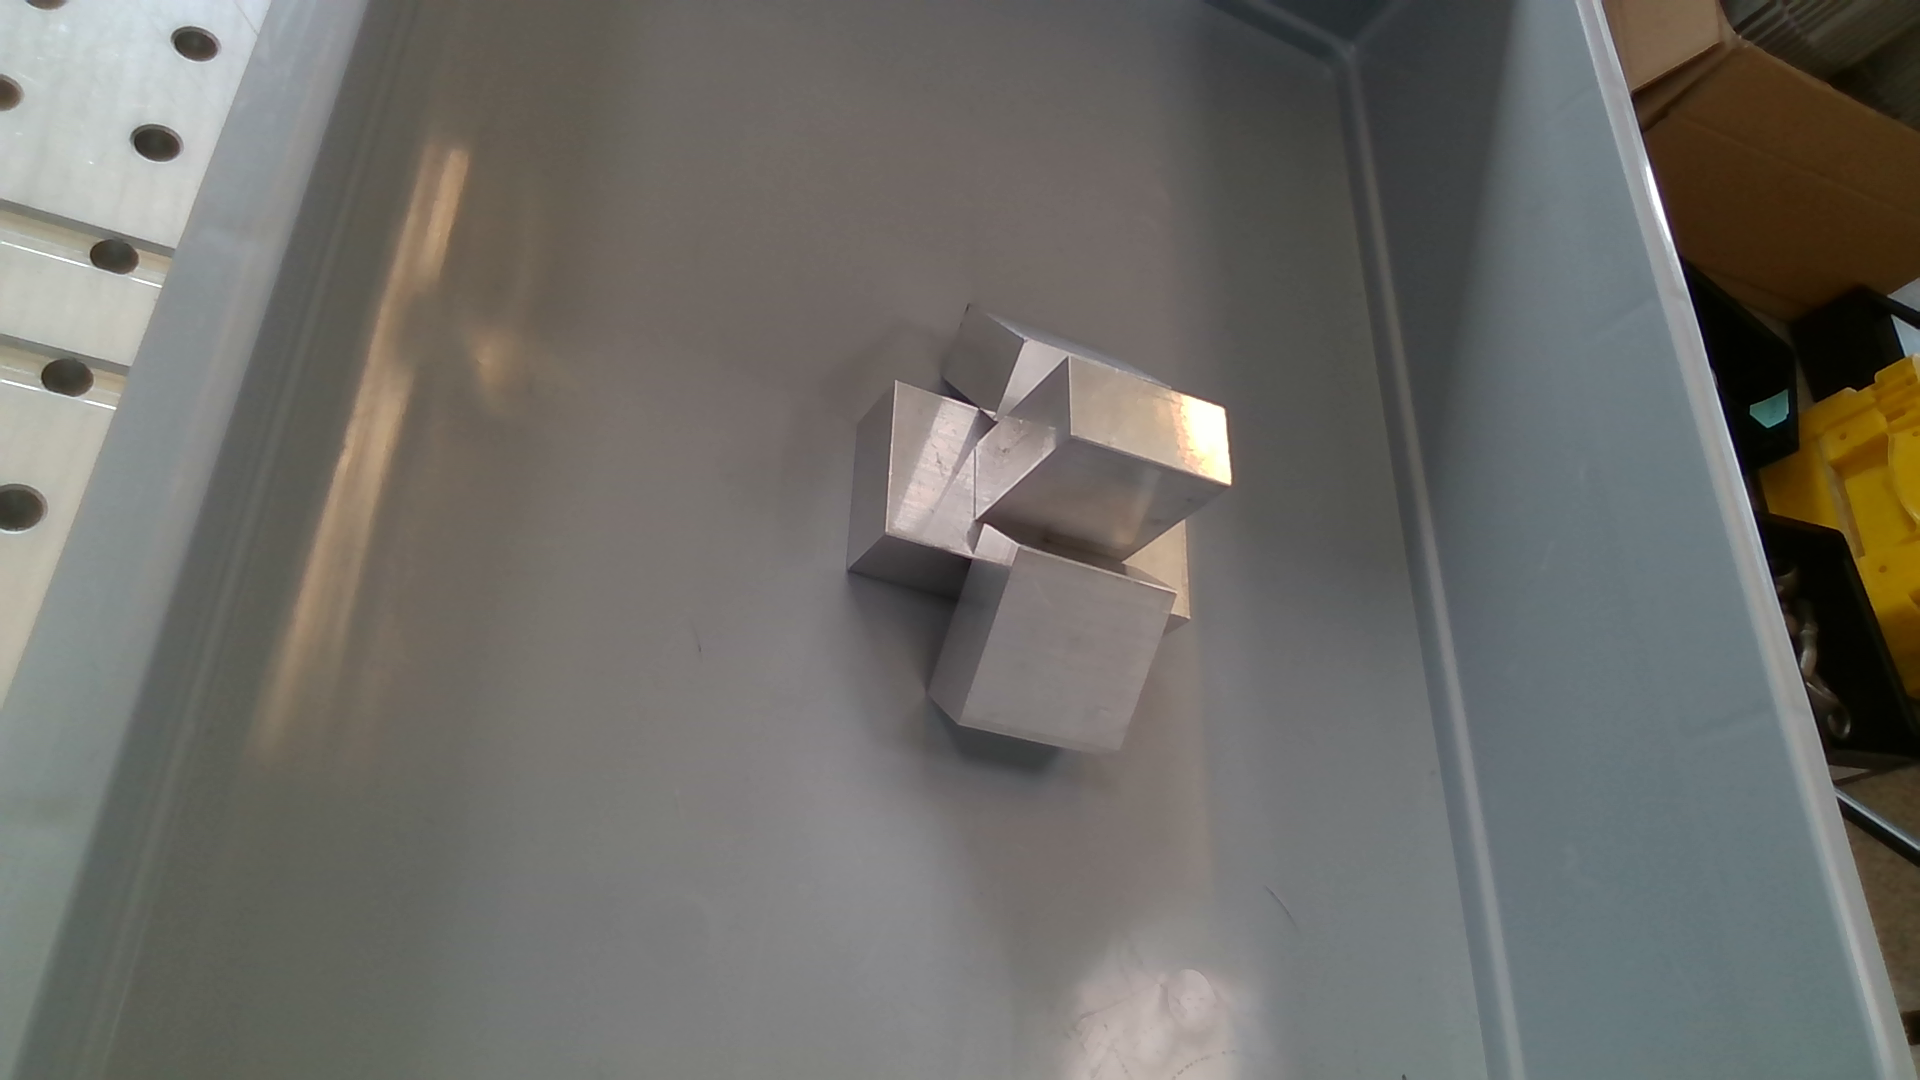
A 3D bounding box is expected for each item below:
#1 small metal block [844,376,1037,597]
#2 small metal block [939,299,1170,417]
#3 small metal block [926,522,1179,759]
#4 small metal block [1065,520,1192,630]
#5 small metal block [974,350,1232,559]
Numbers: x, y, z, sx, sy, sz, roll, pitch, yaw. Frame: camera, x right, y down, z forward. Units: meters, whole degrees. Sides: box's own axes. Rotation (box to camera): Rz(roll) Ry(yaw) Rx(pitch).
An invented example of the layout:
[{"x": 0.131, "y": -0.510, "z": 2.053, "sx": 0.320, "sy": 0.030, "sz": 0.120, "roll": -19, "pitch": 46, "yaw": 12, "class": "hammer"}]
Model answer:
[{"x": -0.004, "y": -0.013, "z": 0.396, "sx": 0.050, "sy": 0.025, "sz": 0.050, "roll": 17, "pitch": 57, "yaw": -24, "class": "small metal block"}, {"x": 0.028, "y": -0.049, "z": 0.417, "sx": 0.050, "sy": 0.025, "sz": 0.050, "roll": 15, "pitch": 15, "yaw": -24, "class": "small metal block"}, {"x": 0.025, "y": 0.028, "z": 0.377, "sx": 0.050, "sy": 0.025, "sz": 0.050, "roll": 16, "pitch": 97, "yaw": -23, "class": "small metal block"}, {"x": 0.041, "y": -0.001, "z": 0.416, "sx": 0.050, "sy": 0.025, "sz": 0.050, "roll": 17, "pitch": 58, "yaw": -24, "class": "small metal block"}, {"x": 0.038, "y": -0.022, "z": 0.377, "sx": 0.050, "sy": 0.050, "sz": 0.025, "roll": 15, "pitch": 59, "yaw": -25, "class": "small metal block"}]
